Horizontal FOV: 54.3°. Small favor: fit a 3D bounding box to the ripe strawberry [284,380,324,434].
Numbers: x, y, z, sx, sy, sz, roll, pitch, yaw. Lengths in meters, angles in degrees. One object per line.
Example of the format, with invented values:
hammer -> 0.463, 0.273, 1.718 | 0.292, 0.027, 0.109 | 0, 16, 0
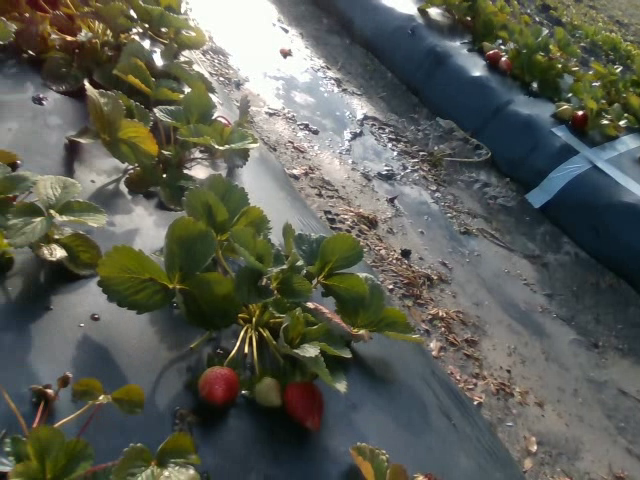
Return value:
ripe strawberry -> -0.013, 0.173, 0.636 | 0.048, 0.065, 0.050 | -22, -41, 4
